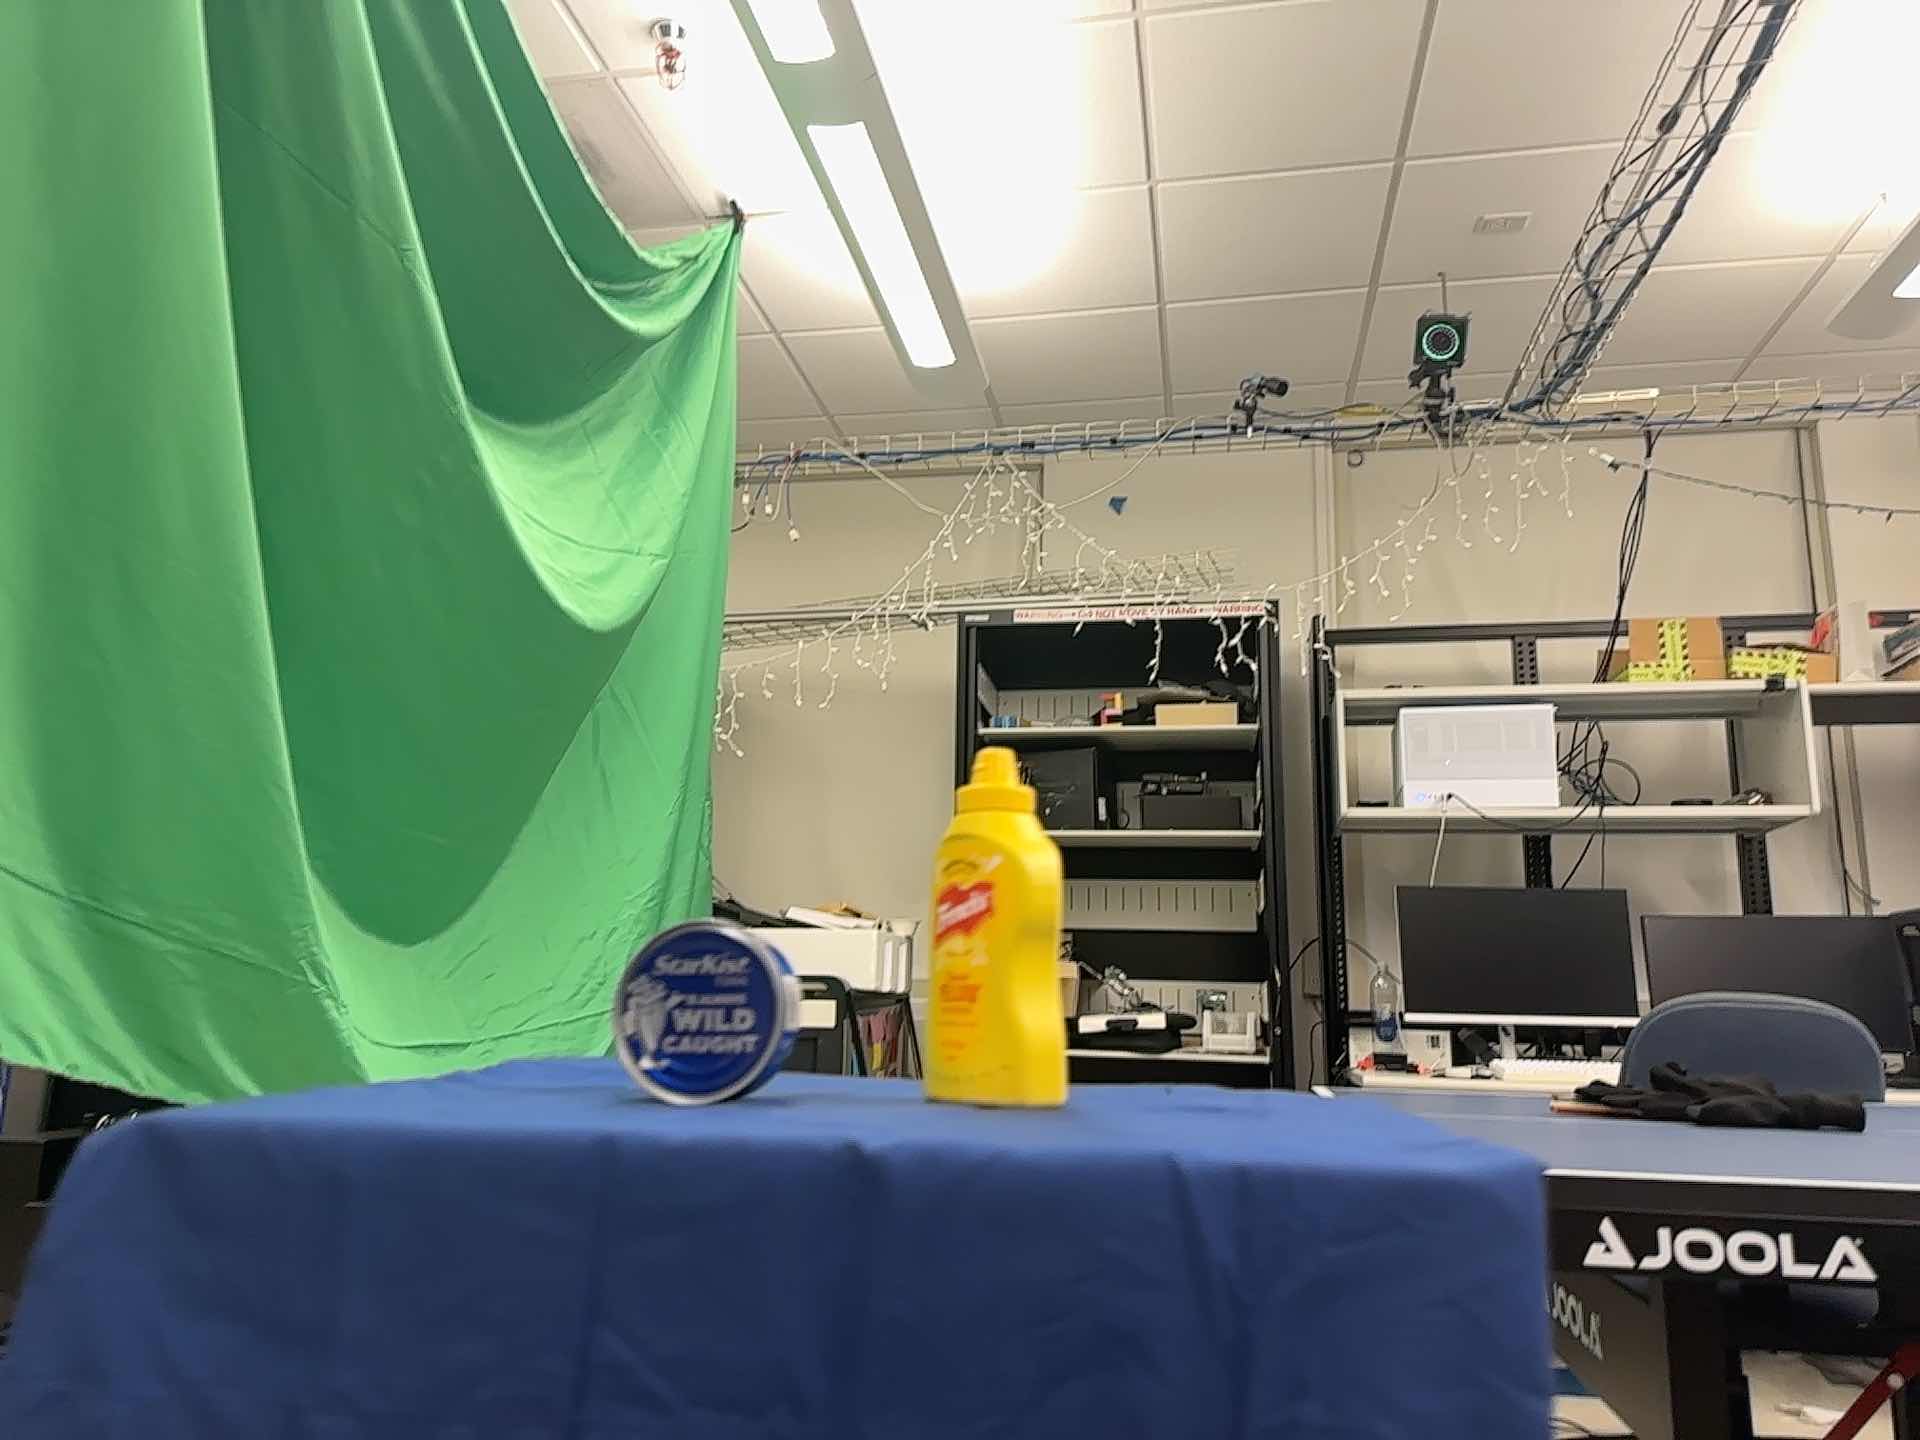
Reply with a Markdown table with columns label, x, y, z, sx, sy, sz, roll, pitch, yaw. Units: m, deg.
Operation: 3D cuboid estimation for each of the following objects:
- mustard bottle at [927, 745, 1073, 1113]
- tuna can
| label | x | y | z | sx | sy | sz | roll | pitch | yaw |
| --- | --- | --- | --- | --- | --- | --- | --- | --- | --- |
| mustard bottle | 0.020 | 0.103 | 0.688 | 0.054 | 0.184 | 0.092 | 8 | -14 | -28 |
| tuna can | -0.118 | 0.143 | 0.661 | 0.083 | 0.083 | 0.034 | -2 | -13 | 14 |
